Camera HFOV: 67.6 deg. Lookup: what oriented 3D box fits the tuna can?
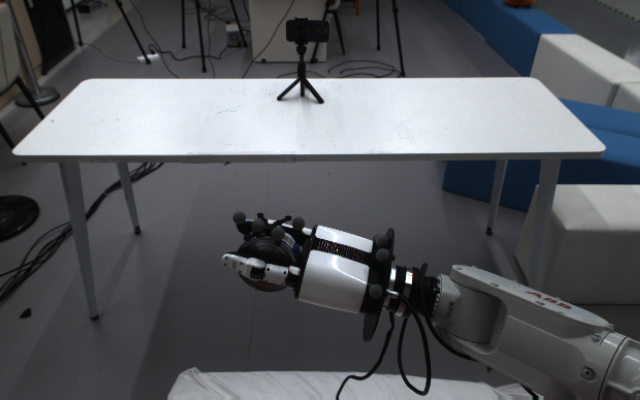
[{"bbox_3d":[-0.069,0.082,0.662,0.085,0.085,0.034,6,22,6],"label":"tuna can"}]
